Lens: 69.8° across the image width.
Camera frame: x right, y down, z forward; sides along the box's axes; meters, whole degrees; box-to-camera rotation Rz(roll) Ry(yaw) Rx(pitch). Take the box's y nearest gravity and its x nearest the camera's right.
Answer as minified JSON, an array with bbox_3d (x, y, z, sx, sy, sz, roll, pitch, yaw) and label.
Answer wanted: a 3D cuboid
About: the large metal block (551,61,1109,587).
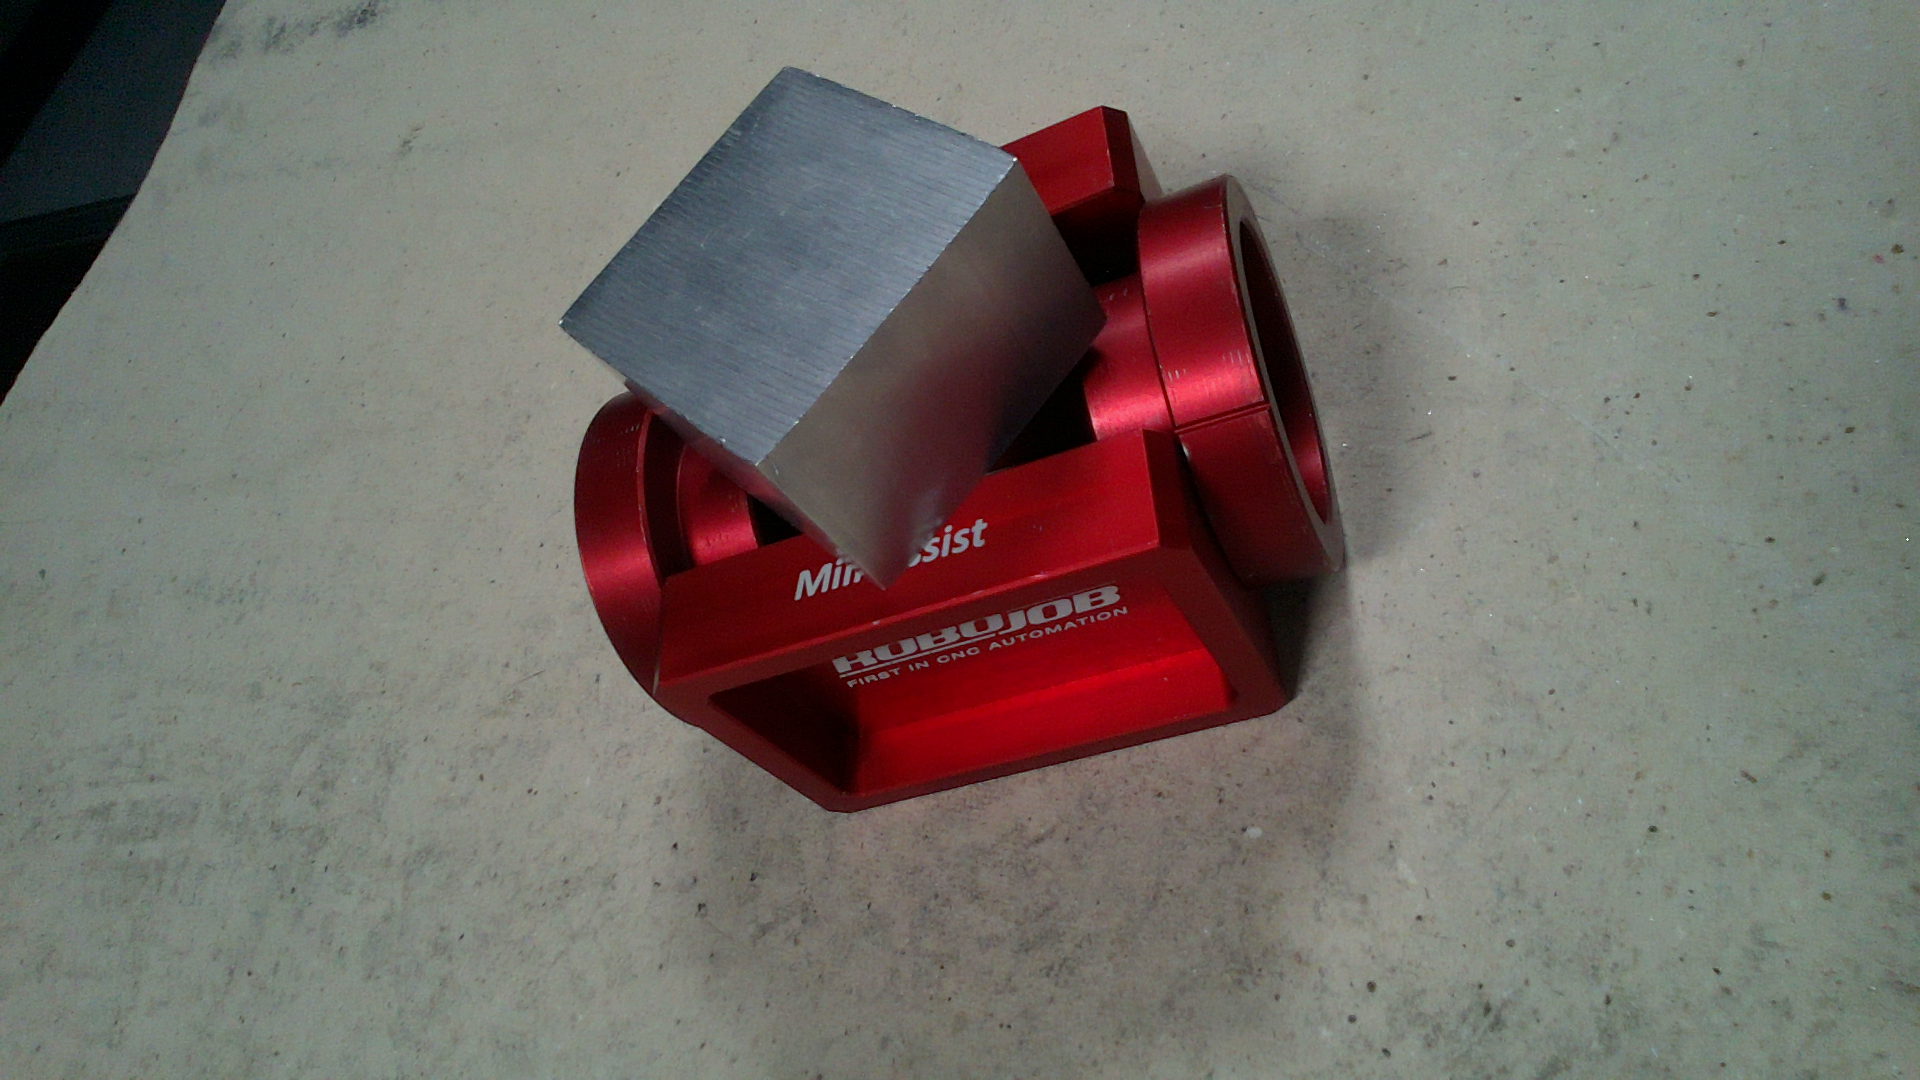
[{"bbox_3d":[-0.029,-0.050,0.304,0.080,0.050,0.080,34,81,38],"label":"large metal block"}]

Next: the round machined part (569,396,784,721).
[{"bbox_3d":[-0.059,0.000,0.379,0.042,0.098,0.098,-15,55,20],"label":"round machined part"}]

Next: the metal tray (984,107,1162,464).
[{"bbox_3d":[0.001,-0.058,0.388,0.130,0.090,0.030,-17,55,19],"label":"metal tray"}]

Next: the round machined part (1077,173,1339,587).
[{"bbox_3d":[0.060,-0.035,0.336,0.042,0.098,0.098,-15,55,20],"label":"round machined part"}]

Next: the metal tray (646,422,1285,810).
[{"bbox_3d":[0.003,0.025,0.333,0.130,0.090,0.030,-17,55,19],"label":"metal tray"}]
